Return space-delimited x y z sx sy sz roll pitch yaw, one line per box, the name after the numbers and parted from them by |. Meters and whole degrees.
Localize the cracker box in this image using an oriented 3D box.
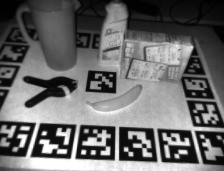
0.138 -0.111 0.735 0.213 0.165 0.071 4 45 0 | cracker box

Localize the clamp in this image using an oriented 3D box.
-0.200 -0.008 0.712 0.166 0.037 0.120 -8 48 -15 | clamp

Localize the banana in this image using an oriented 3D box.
0.018 0.029 0.712 0.199 0.039 0.073 -23 54 -24 | banana

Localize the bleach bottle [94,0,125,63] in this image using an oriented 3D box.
-0.012 -0.194 0.757 0.103 0.252 0.067 3 47 -1 | bleach bottle

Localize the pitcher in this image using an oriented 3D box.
-0.199 -0.190 0.707 0.190 0.243 0.132 -9 49 -16 | pitcher
